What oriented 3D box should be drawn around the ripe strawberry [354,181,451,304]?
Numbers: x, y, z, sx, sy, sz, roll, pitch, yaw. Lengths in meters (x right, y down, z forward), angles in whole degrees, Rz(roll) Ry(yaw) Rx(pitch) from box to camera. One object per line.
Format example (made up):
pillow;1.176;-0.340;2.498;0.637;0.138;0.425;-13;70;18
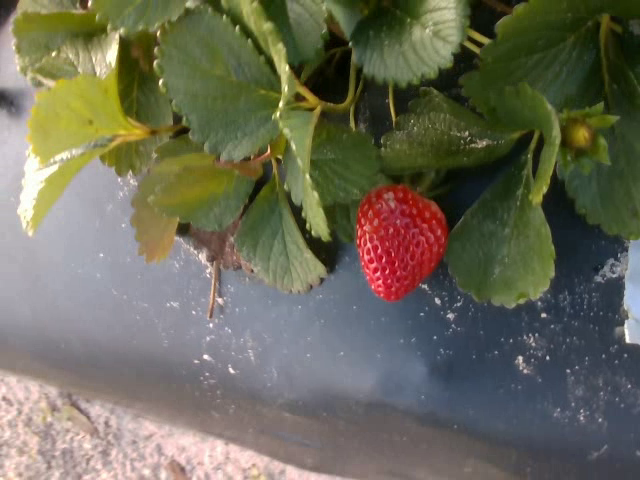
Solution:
ripe strawberry;0.015;0.001;0.110;0.018;0.023;0.020;6;-7;43
